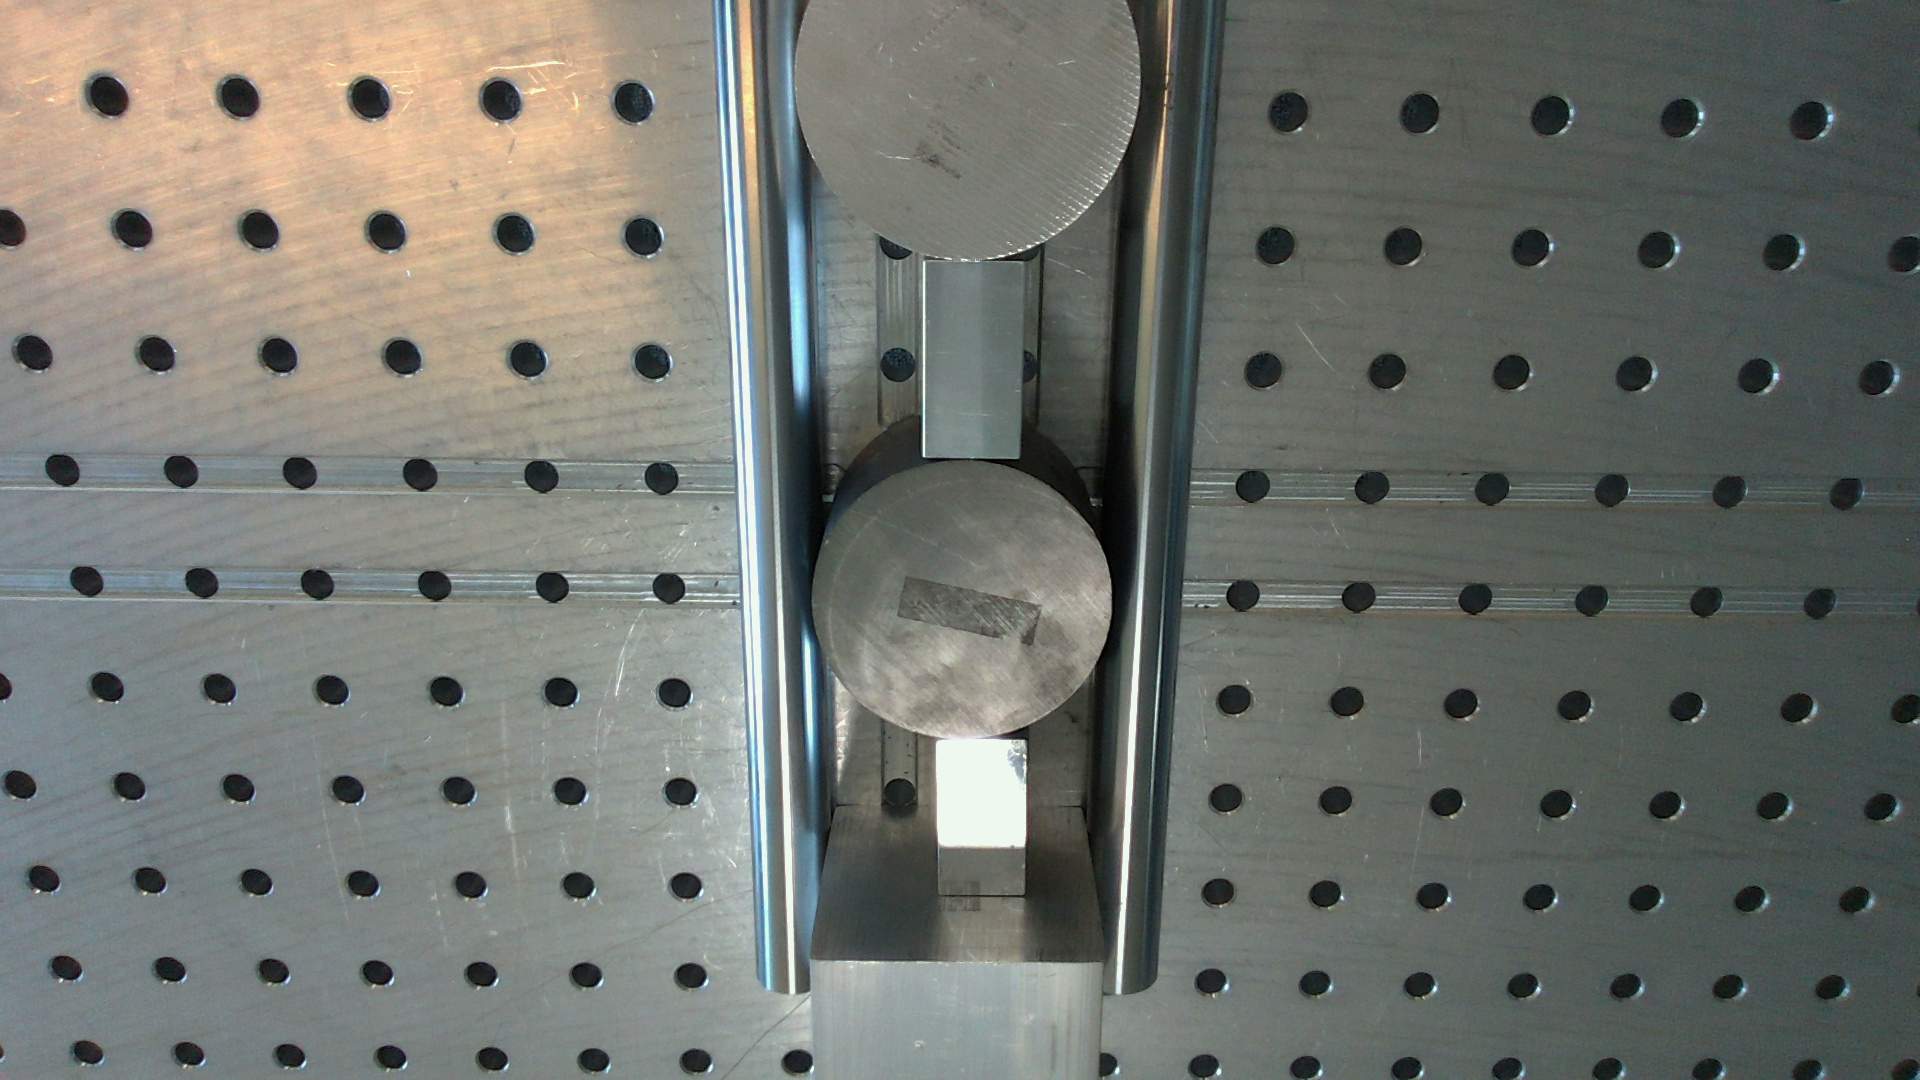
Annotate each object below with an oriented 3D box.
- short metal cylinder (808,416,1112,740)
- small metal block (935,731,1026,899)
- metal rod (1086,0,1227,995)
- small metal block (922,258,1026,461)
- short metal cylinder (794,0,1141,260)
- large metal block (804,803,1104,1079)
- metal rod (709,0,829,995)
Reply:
[{"bbox_3d":[0.000,0.009,0.386,0.080,0.050,0.080,0,110,0],"label":"short metal cylinder"},{"bbox_3d":[0.006,0.071,0.408,0.025,0.050,0.050,0,110,0],"label":"small metal block"},{"bbox_3d":[0.053,-0.001,0.395,0.025,0.025,0.300,1,110,0],"label":"metal rod"},{"bbox_3d":[0.003,-0.052,0.363,0.025,0.050,0.050,1,110,0],"label":"small metal block"},{"bbox_3d":[0.002,-0.114,0.341,0.080,0.050,0.080,0,110,0],"label":"short metal cylinder"},{"bbox_3d":[-0.002,0.122,0.412,0.080,0.080,0.050,1,110,0],"label":"large metal block"},{"bbox_3d":[-0.052,-0.001,0.395,0.025,0.025,0.300,1,110,0],"label":"metal rod"}]
